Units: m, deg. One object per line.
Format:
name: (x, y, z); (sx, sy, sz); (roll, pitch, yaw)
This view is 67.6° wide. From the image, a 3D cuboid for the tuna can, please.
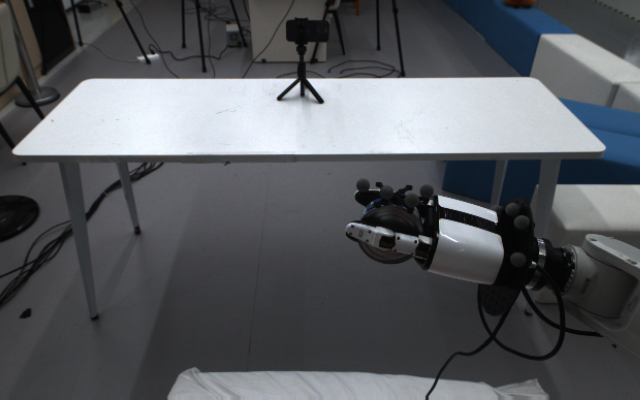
tuna can: (0.094, 0.038, 0.634); (0.085, 0.085, 0.034); (7, 23, 6)
